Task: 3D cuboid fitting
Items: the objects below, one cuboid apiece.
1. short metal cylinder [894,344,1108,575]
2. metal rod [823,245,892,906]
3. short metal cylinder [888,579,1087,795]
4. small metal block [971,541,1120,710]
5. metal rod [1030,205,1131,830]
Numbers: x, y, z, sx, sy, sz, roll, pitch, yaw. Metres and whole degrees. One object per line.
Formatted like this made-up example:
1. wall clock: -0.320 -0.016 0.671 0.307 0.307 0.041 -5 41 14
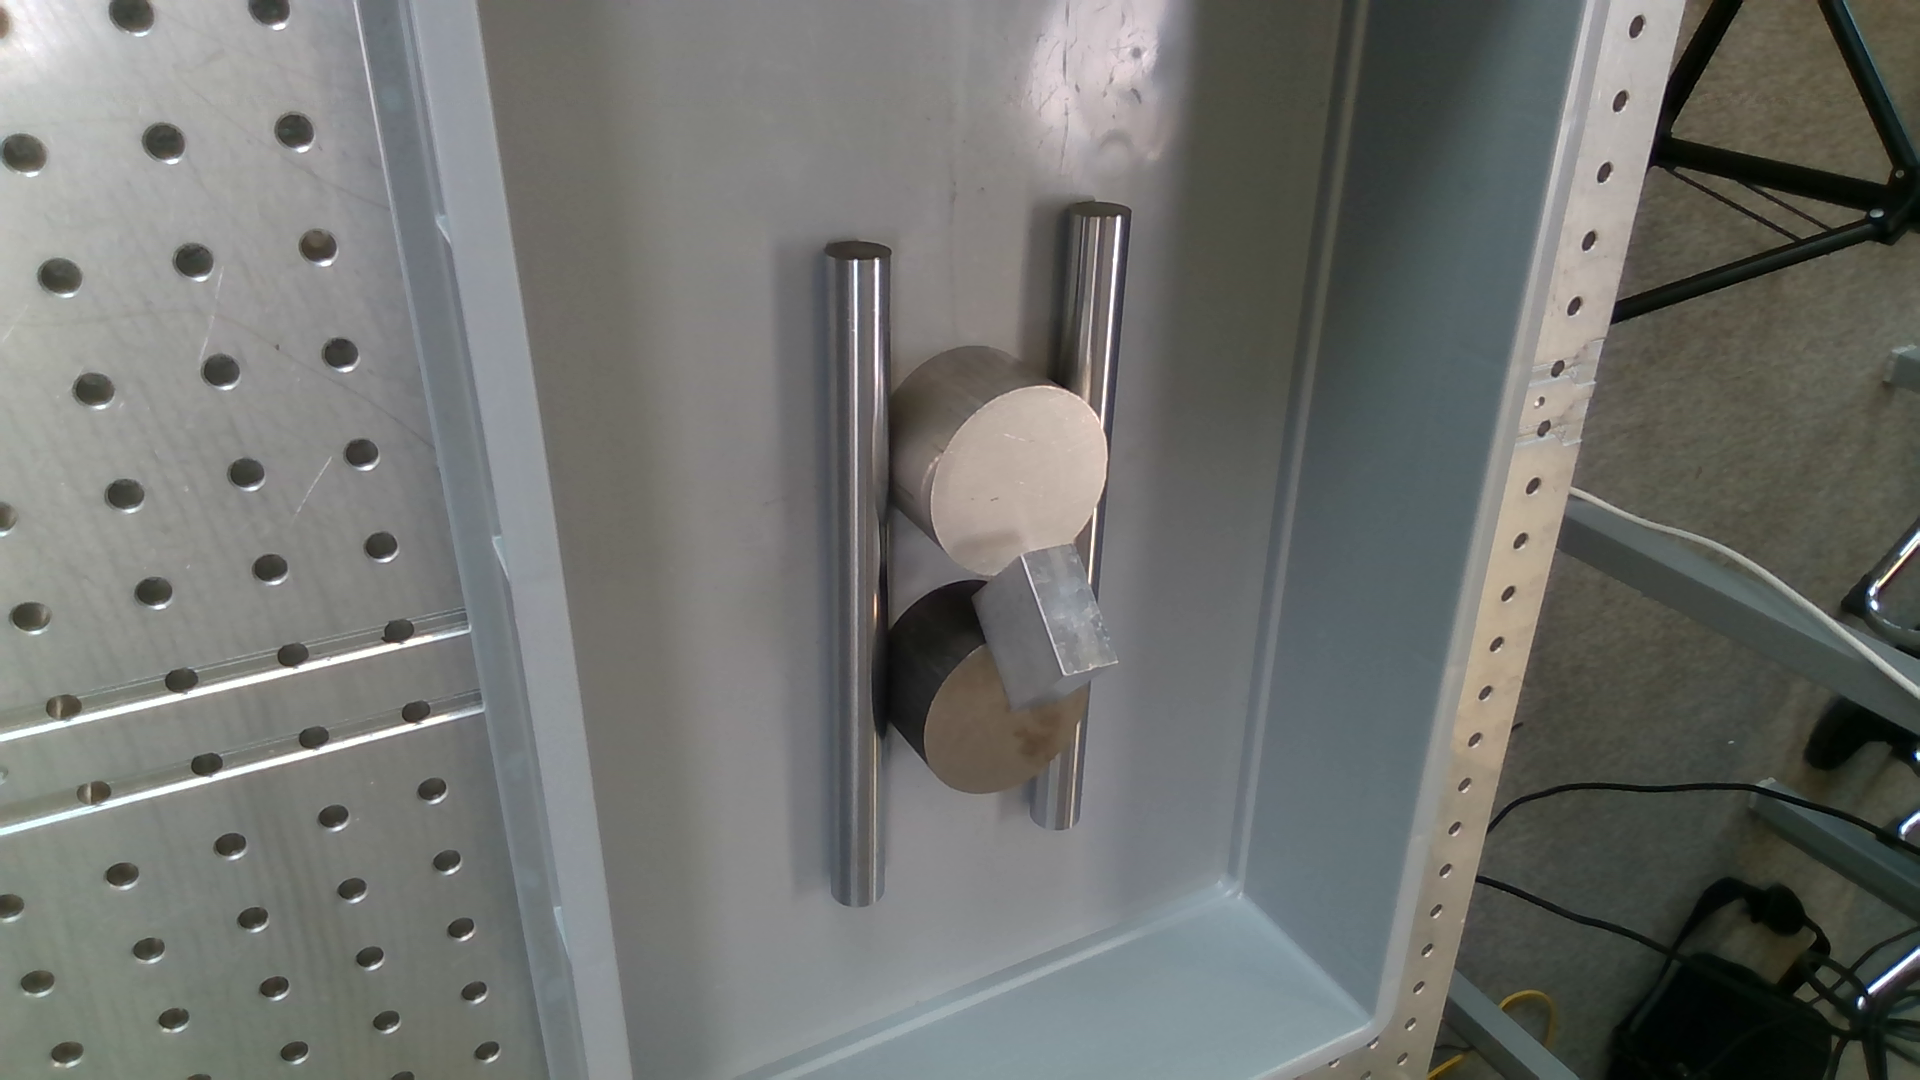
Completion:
1. short metal cylinder: 0.012 -0.033 0.554 0.080 0.050 0.080 -14 122 -25
2. metal rod: -0.042 0.028 0.569 0.025 0.025 0.301 -12 121 -26
3. short metal cylinder: 0.008 0.064 0.604 0.080 0.050 0.080 -14 122 -25
4. small metal block: 0.032 0.035 0.543 0.025 0.050 0.050 -12 163 -27
5. metal rod: 0.051 0.002 0.613 0.025 0.025 0.301 -13 121 -26
